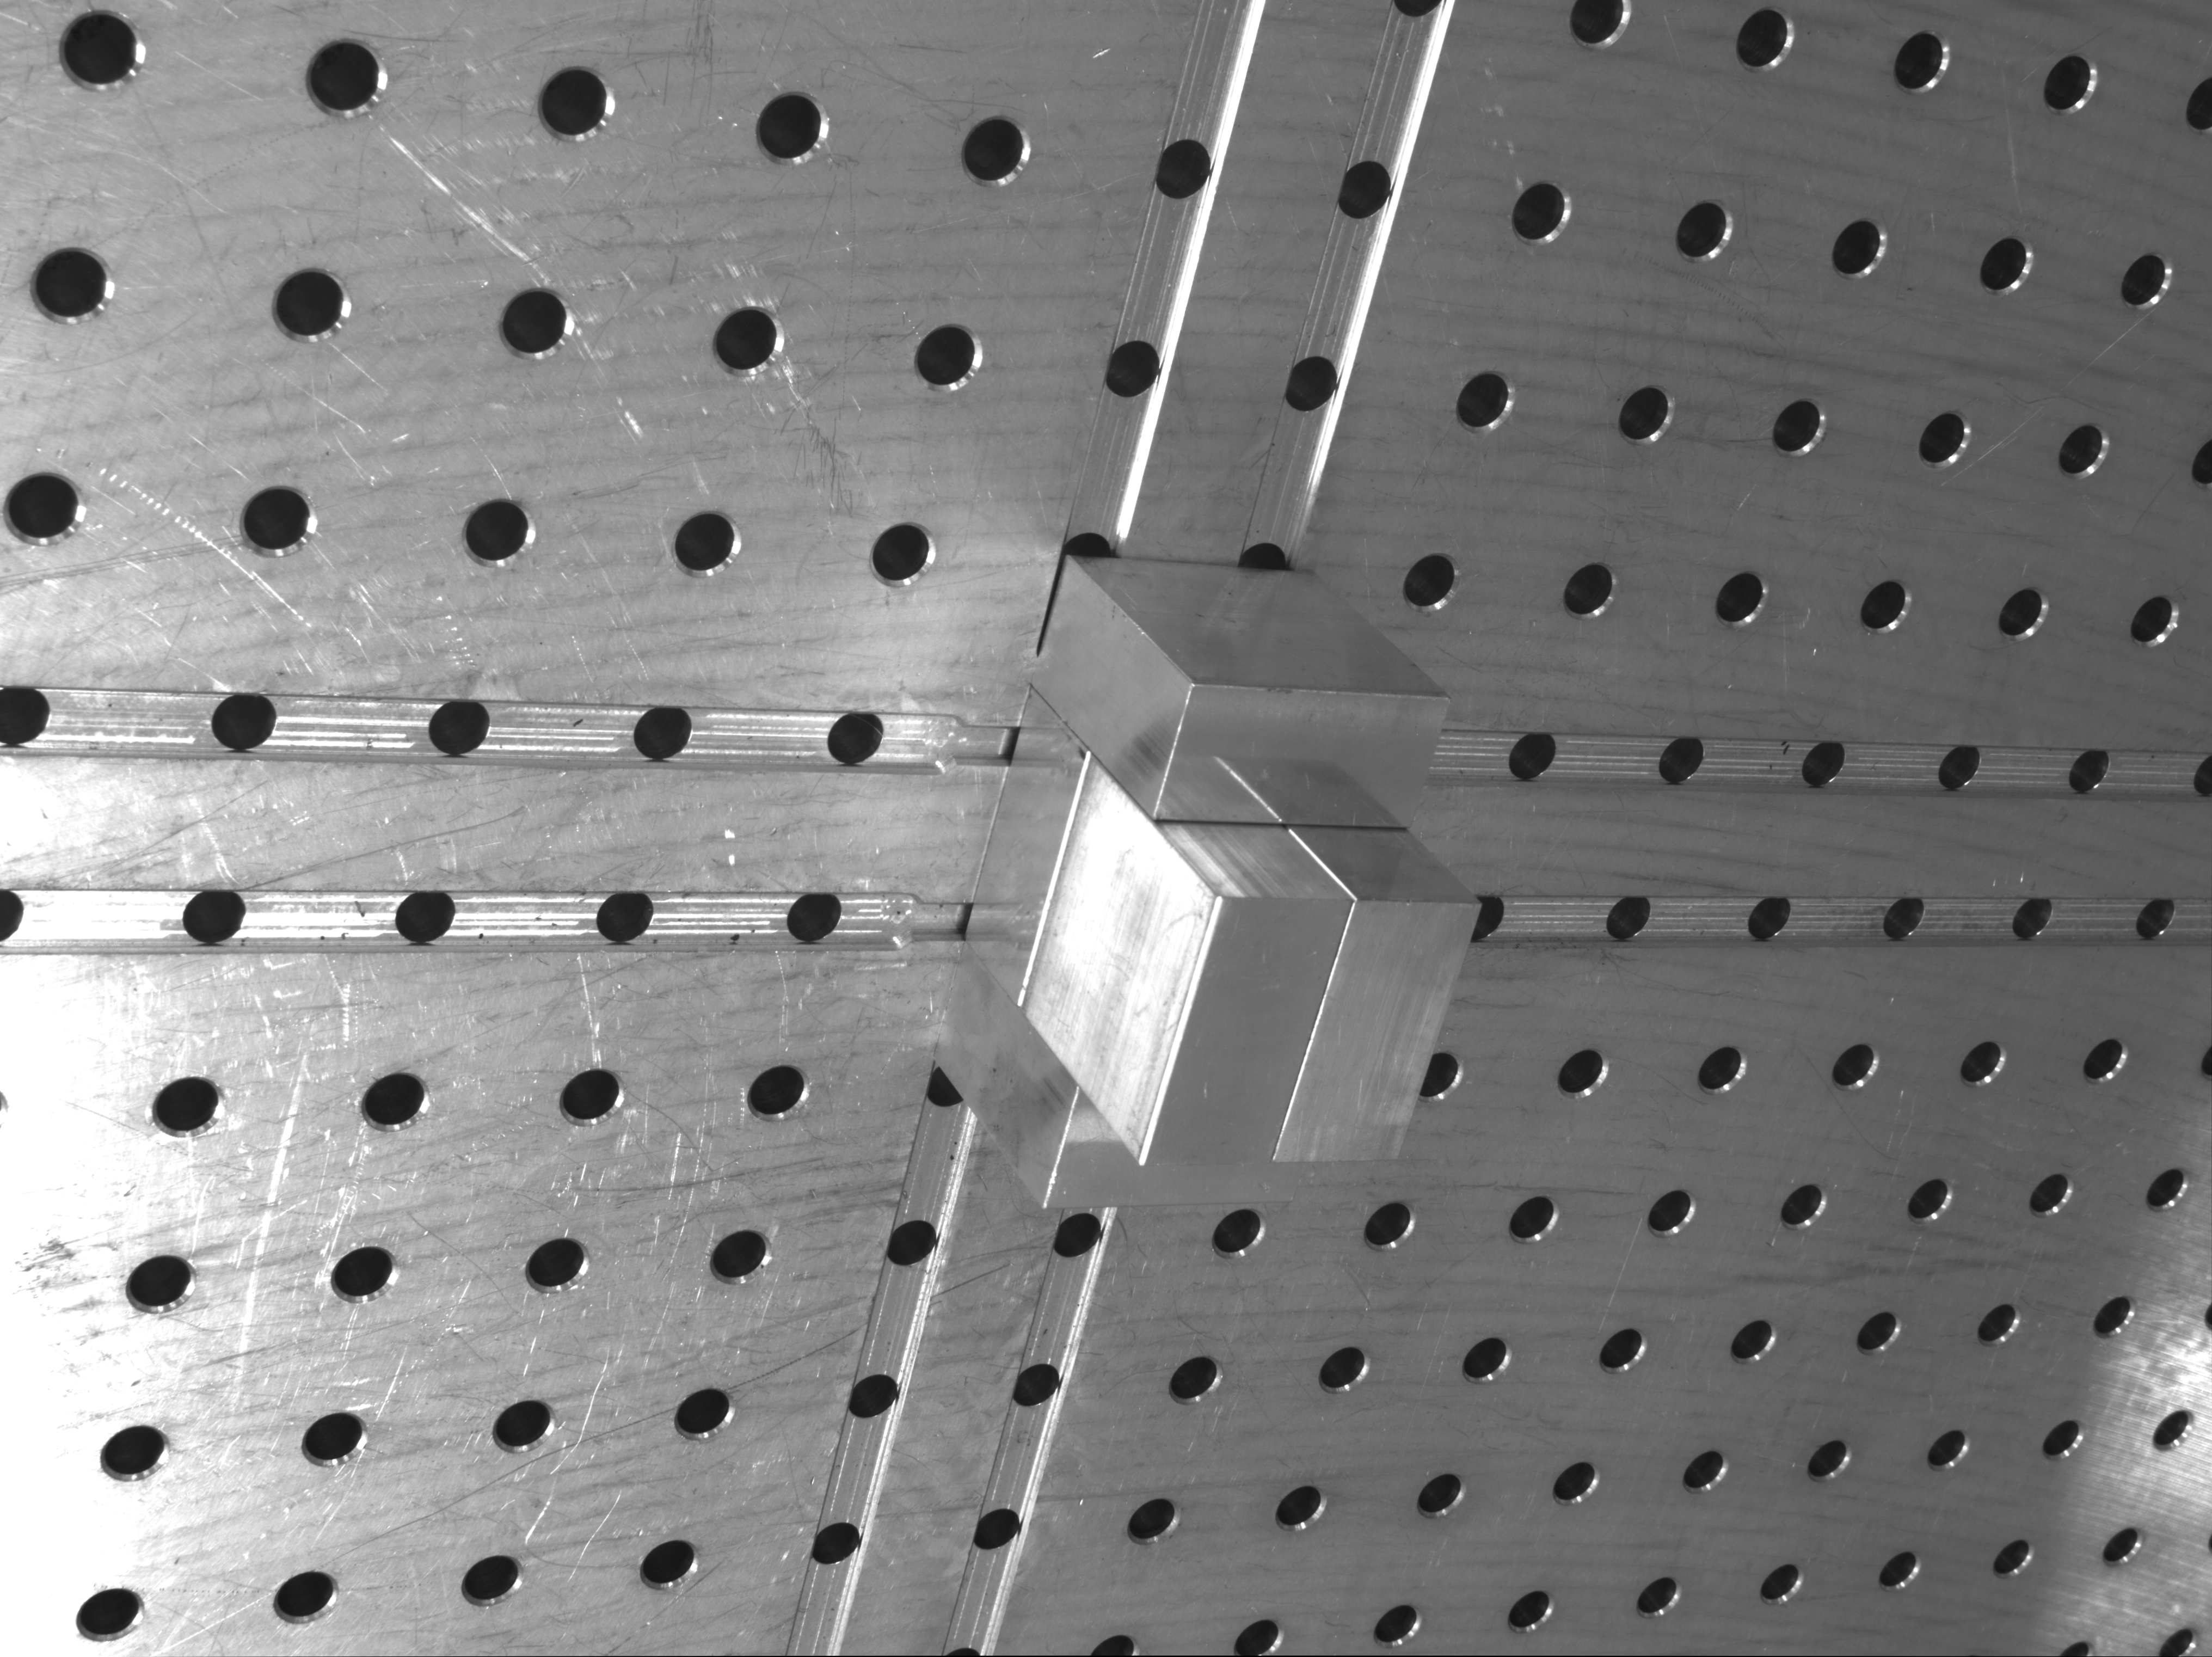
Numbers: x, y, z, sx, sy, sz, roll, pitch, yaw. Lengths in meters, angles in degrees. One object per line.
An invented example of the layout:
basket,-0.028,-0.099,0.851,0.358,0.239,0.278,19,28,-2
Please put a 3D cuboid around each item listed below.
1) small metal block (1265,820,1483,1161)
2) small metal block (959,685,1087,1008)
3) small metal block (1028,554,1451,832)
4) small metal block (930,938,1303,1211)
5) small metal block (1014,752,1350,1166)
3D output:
small metal block,0.035,0.022,0.624,0.025,0.050,0.050,2,117,-28
small metal block,0.007,0.004,0.646,0.050,0.025,0.050,2,117,-28
small metal block,0.022,-0.023,0.622,0.050,0.050,0.025,2,117,-29
small metal block,0.003,0.043,0.652,0.050,0.050,0.025,2,117,-29
small metal block,0.012,0.021,0.611,0.025,0.050,0.050,2,117,-29
